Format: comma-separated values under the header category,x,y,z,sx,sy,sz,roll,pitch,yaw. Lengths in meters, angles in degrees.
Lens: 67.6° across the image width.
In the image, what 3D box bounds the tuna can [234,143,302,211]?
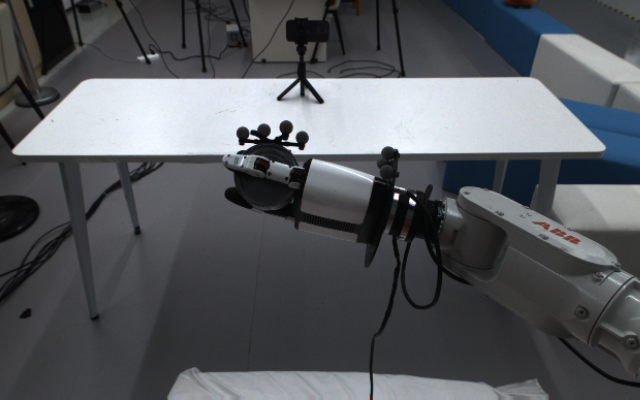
category,x,y,z,sx,sy,sz,roll,pitch,yaw
tuna can,-0.068,-0.030,0.636,0.085,0.034,0.085,0,76,0
